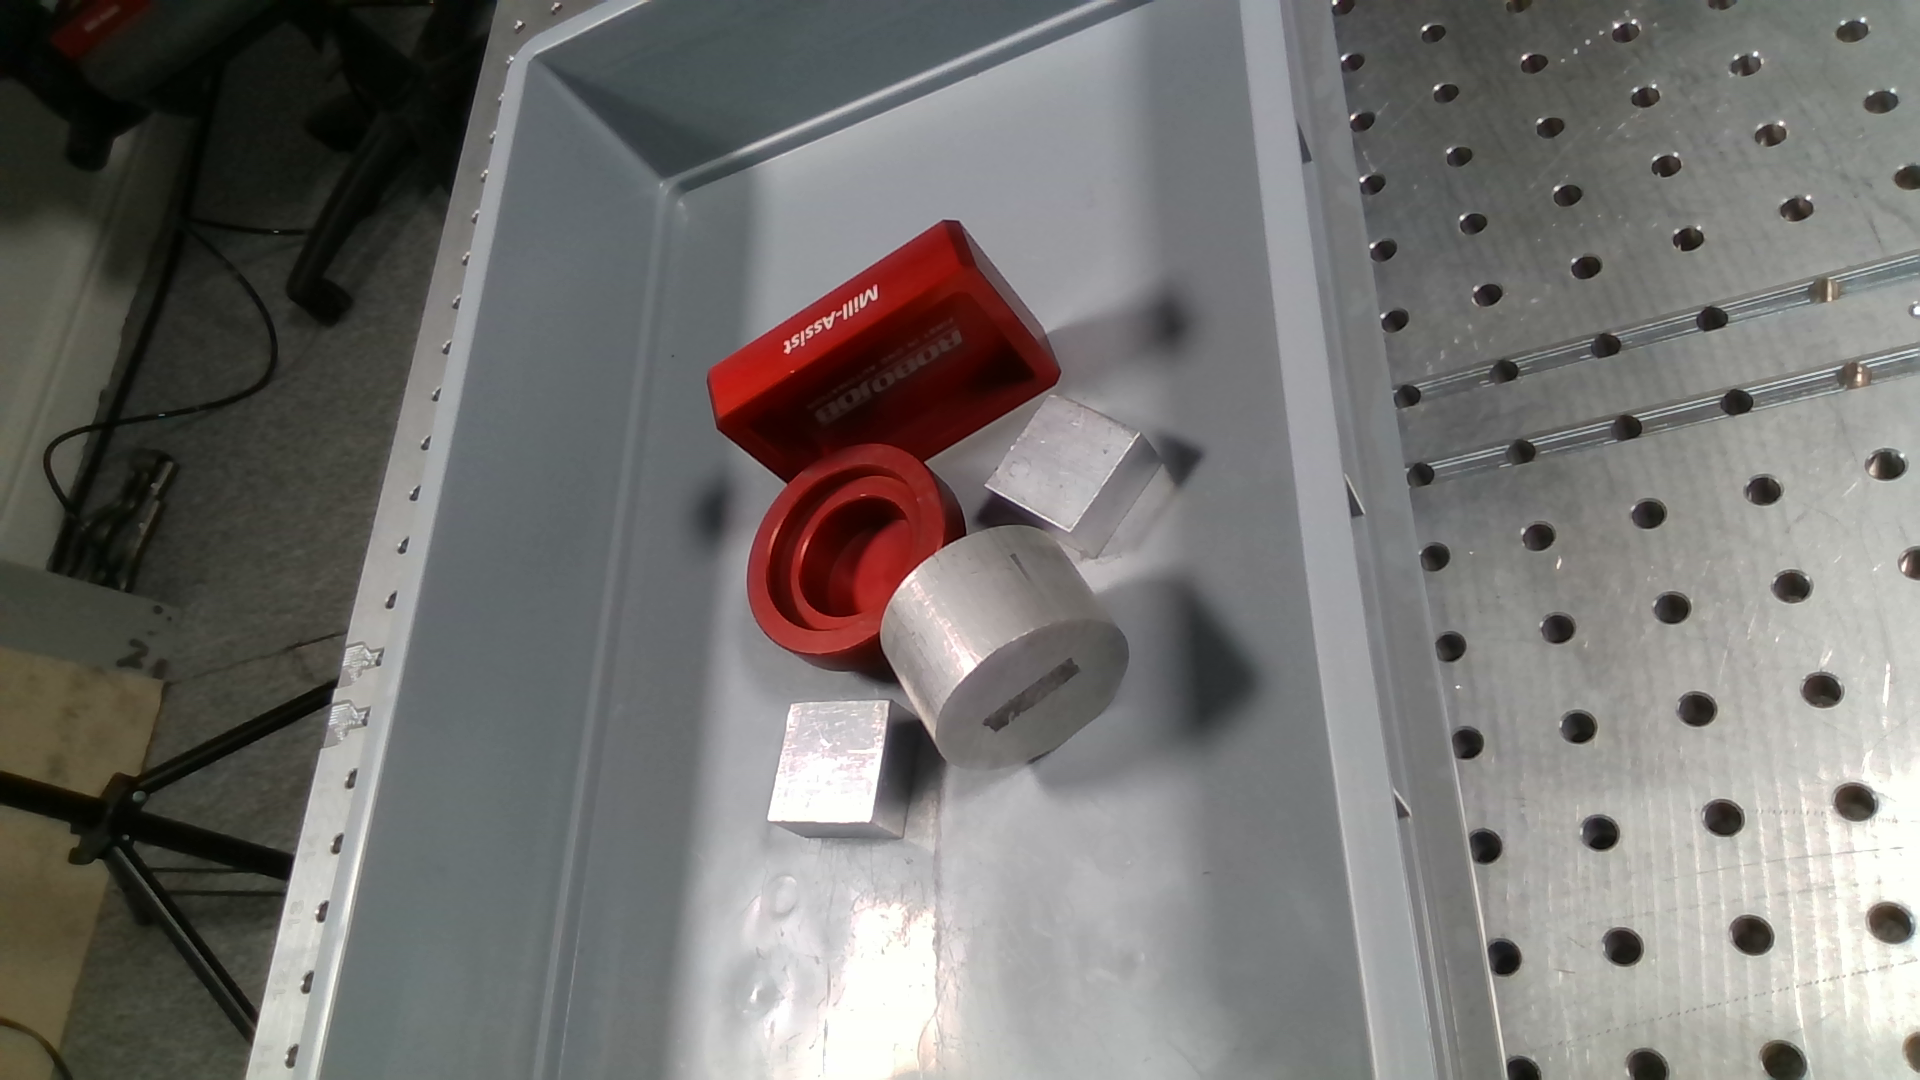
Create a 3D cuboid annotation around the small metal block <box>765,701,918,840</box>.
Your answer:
[{"bbox_3d":[-0.047,0.094,0.563,0.050,0.025,0.050,-5,62,29],"label":"small metal block"}]

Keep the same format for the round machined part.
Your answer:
[{"bbox_3d":[-0.040,0.011,0.590,0.098,0.042,0.098,-14,59,25],"label":"round machined part"}]

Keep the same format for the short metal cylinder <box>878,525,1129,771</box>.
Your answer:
[{"bbox_3d":[0.016,0.041,0.517,0.080,0.080,0.050,-39,52,8],"label":"short metal cylinder"}]

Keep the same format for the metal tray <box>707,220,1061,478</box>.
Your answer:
[{"bbox_3d":[-0.033,-0.072,0.600,0.130,0.090,0.030,-29,53,15],"label":"metal tray"}]

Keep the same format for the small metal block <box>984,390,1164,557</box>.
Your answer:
[{"bbox_3d":[0.047,-0.027,0.569,0.050,0.025,0.050,31,82,39],"label":"small metal block"}]
